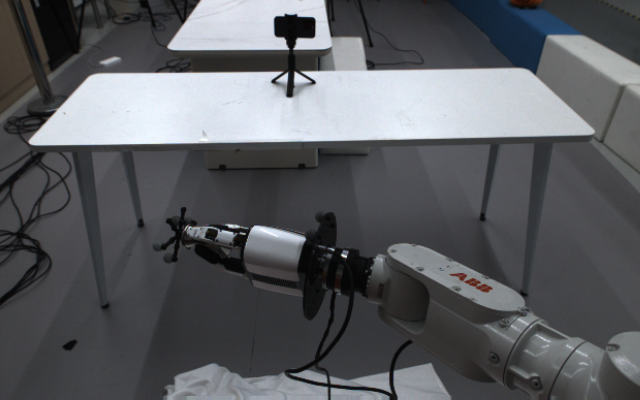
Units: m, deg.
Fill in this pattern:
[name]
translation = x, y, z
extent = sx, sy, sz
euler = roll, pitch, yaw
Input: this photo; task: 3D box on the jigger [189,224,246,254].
[jigger]
translation = -0.169, 0.059, 0.749
extent = 0.071, 0.043, 0.043
euler = 10, 35, 16
